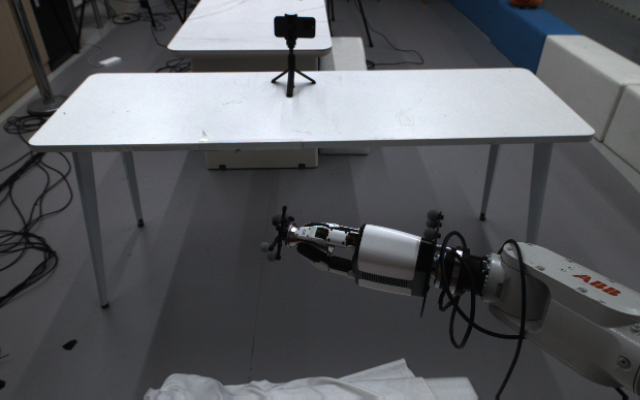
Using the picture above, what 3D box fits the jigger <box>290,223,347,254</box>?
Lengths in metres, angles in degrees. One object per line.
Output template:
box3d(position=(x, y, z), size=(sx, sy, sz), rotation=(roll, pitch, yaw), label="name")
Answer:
box3d(position=(-0.008, 0.056, 0.754), size=(0.071, 0.043, 0.043), rotation=(9, 35, 16), label="jigger")
